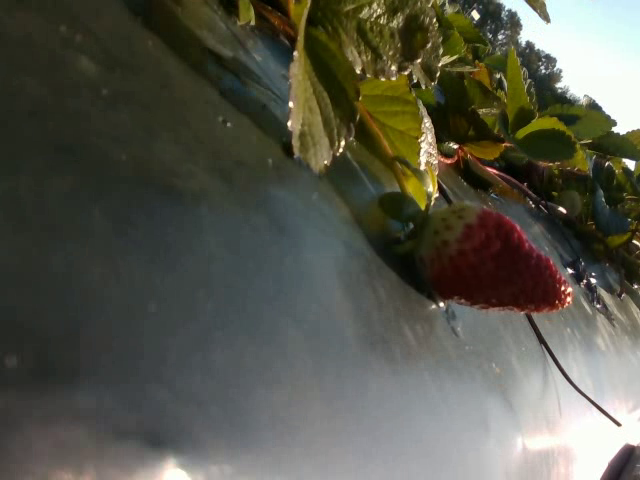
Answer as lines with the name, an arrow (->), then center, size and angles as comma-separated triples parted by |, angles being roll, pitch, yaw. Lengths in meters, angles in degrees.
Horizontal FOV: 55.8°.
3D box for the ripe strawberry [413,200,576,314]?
ripe strawberry -> 0.041, 0.007, 0.139 | 0.041, 0.031, 0.028 | 25, 36, 19
